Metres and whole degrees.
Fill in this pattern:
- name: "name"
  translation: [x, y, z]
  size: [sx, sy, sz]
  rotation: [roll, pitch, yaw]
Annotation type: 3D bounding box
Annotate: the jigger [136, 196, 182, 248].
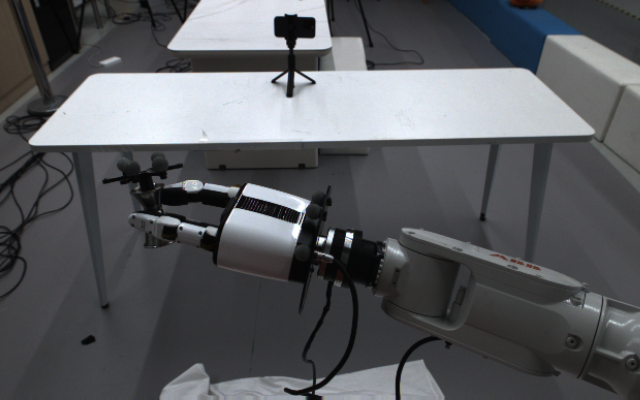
- name: "jigger"
  translation: [-0.194, 0.018, 0.577]
  size: [0.043, 0.071, 0.043]
  rotation: [-10, 16, 3]
